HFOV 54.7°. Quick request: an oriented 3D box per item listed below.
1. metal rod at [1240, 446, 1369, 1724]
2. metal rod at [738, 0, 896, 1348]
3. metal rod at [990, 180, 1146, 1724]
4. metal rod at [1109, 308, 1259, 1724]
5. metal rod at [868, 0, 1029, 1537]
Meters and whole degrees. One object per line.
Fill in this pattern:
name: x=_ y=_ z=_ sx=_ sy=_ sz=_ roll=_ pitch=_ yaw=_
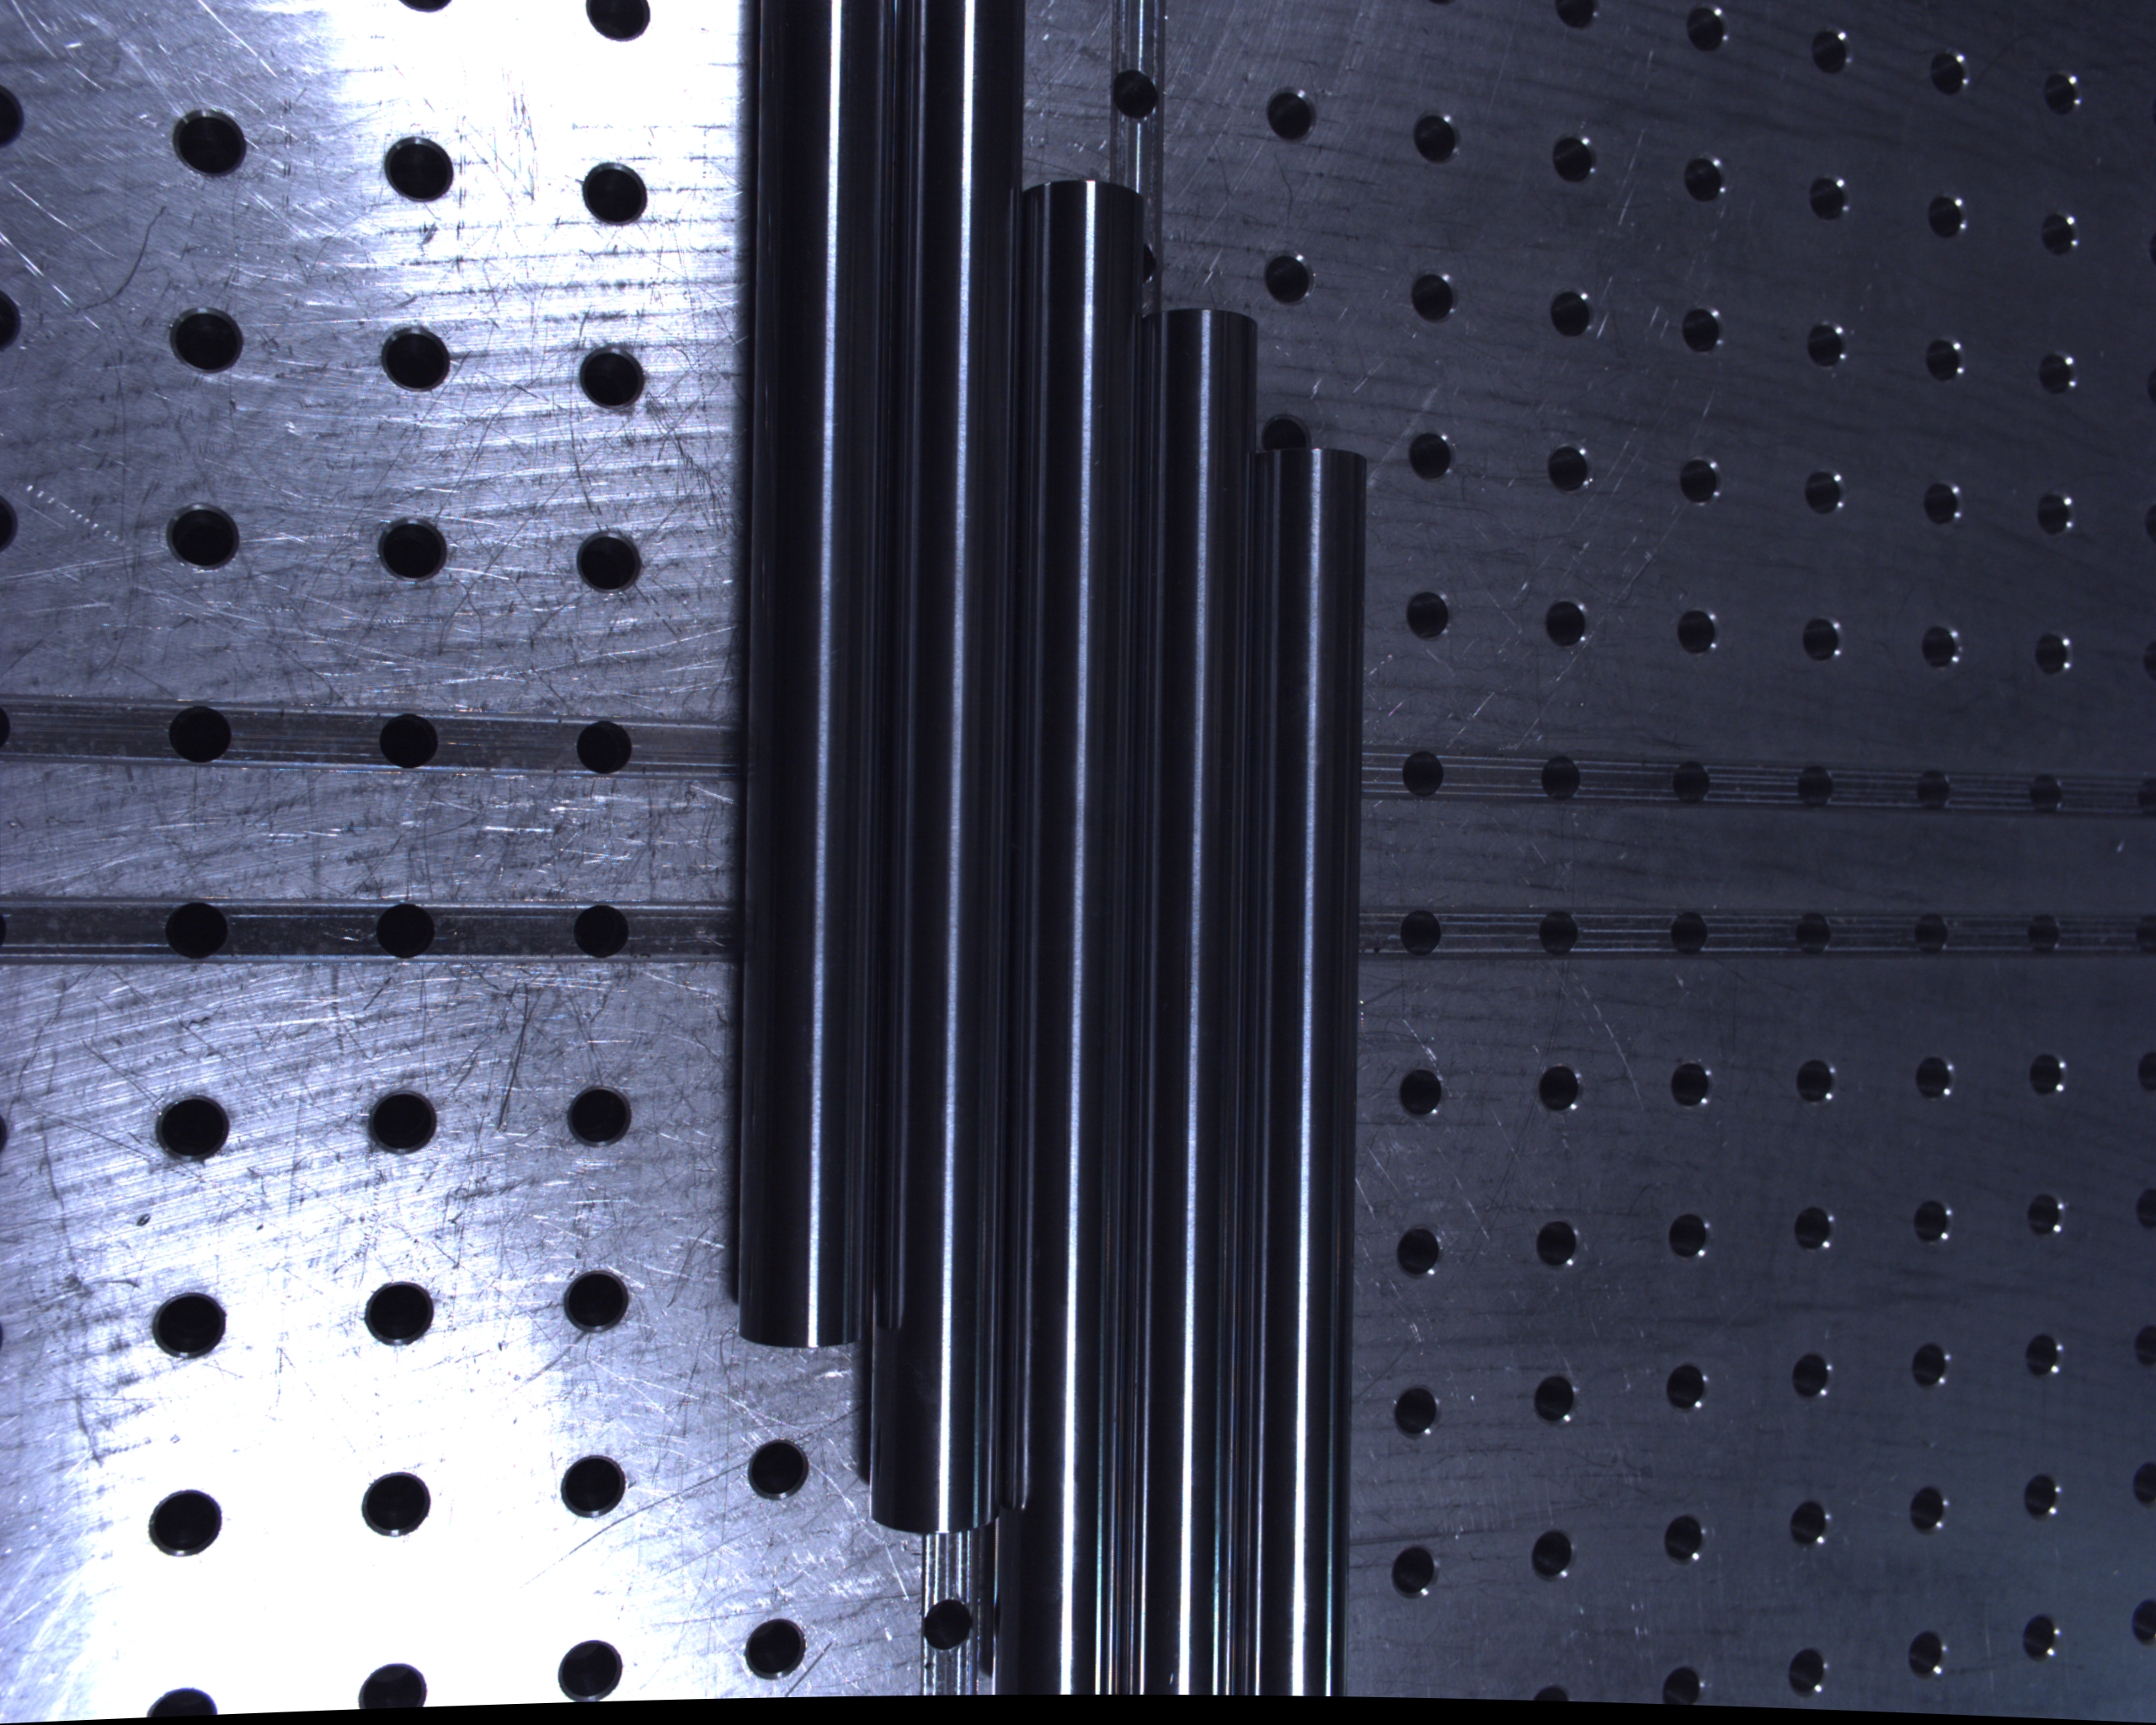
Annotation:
metal rod: x=0.045 y=0.066 z=0.430 sx=0.025 sy=0.025 sz=0.298 roll=1 pitch=90 yaw=-20
metal rod: x=-0.049 y=-0.060 z=0.395 sx=0.025 sy=0.025 sz=0.298 roll=1 pitch=90 yaw=-20
metal rod: x=-0.002 y=0.018 z=0.412 sx=0.025 sy=0.025 sz=0.298 roll=1 pitch=90 yaw=-20
metal rod: x=0.021 y=0.040 z=0.421 sx=0.025 sy=0.025 sz=0.298 roll=1 pitch=90 yaw=-20
metal rod: x=-0.025 y=-0.023 z=0.403 sx=0.025 sy=0.025 sz=0.298 roll=1 pitch=90 yaw=-20
